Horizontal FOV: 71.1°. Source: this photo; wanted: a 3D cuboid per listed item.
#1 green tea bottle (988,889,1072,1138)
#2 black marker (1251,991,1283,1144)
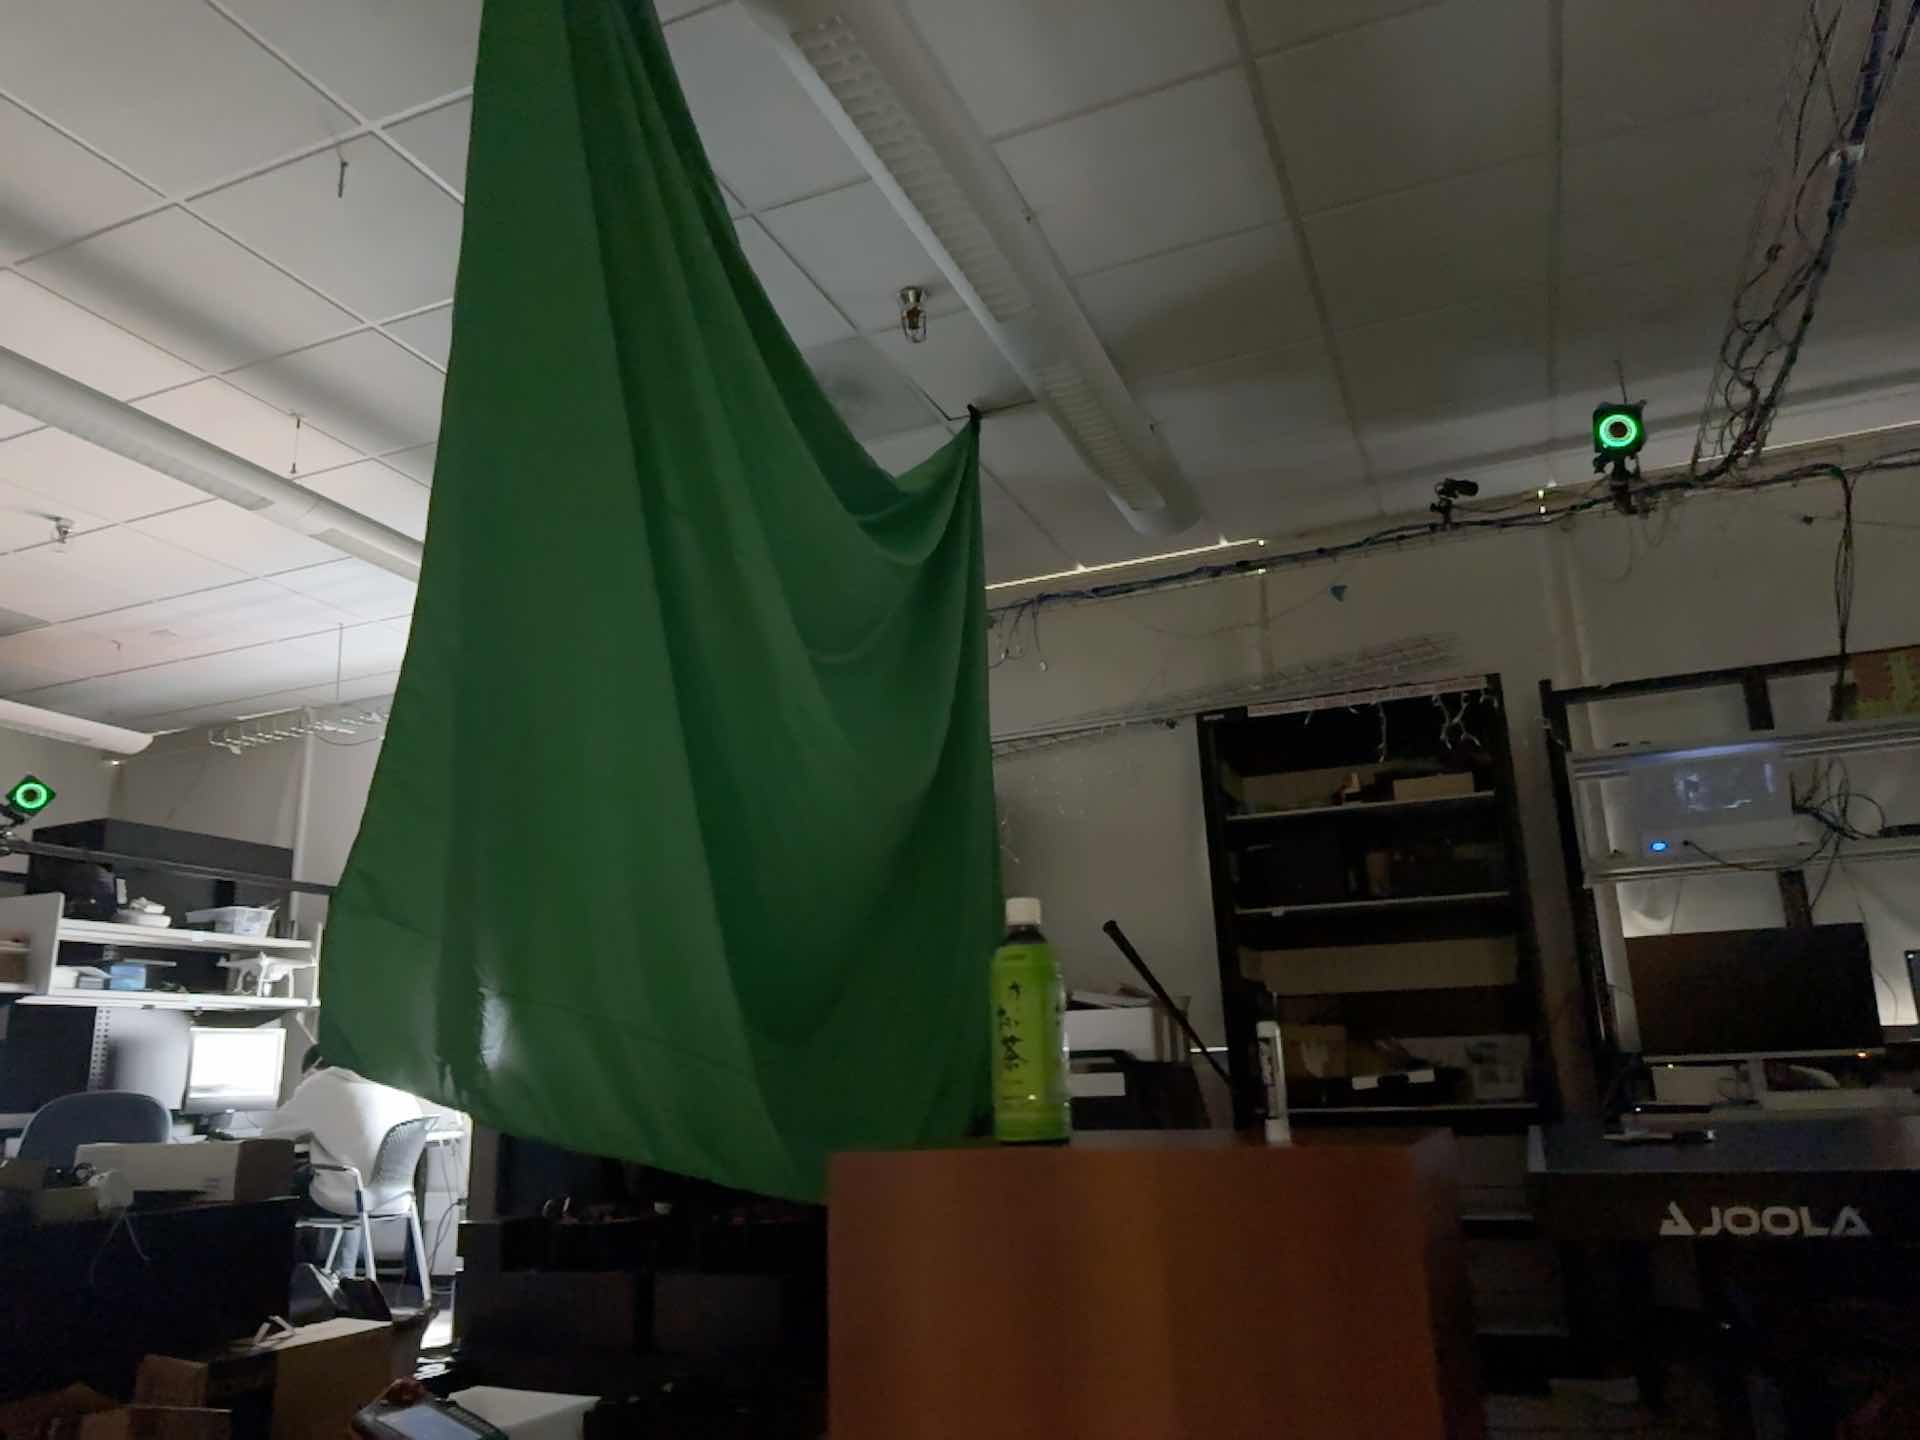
[{"bbox_3d":[0.058,0.256,1.182,0.073,0.212,0.073,-3,-16,-1],"label":"green tea bottle"},{"bbox_3d":[0.252,0.284,1.105,0.020,0.121,0.020,0,-13,0],"label":"black marker"}]
